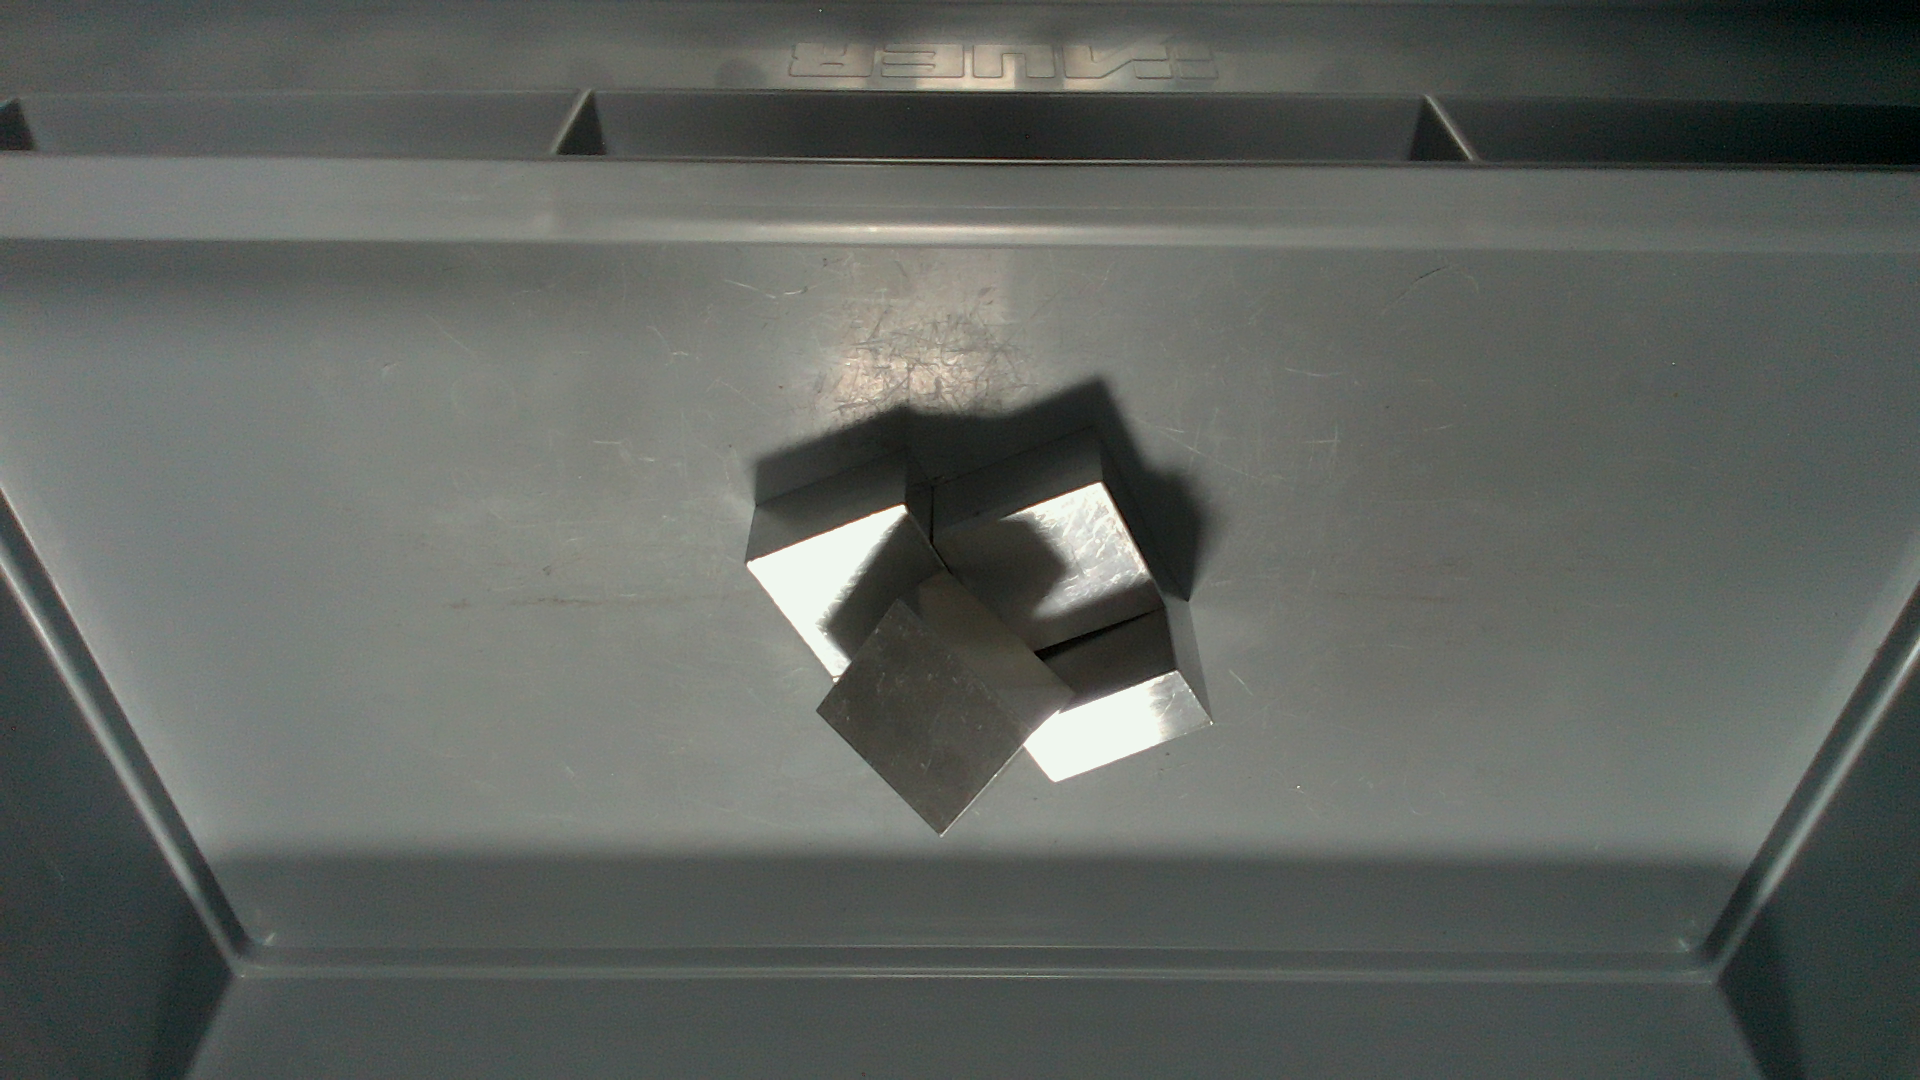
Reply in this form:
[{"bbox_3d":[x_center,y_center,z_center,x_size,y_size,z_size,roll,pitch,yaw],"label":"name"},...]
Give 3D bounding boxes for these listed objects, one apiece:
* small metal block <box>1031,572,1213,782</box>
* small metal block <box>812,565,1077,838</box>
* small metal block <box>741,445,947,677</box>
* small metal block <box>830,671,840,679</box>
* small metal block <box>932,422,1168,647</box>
[{"bbox_3d":[0.043,0.036,0.403,0.050,0.050,0.025,-23,126,17],"label":"small metal block"},{"bbox_3d":[-0.005,0.044,0.378,0.050,0.025,0.050,43,124,10],"label":"small metal block"},{"bbox_3d":[-0.027,0.007,0.395,0.050,0.025,0.050,-20,127,16],"label":"small metal block"},{"bbox_3d":[-0.005,0.042,0.424,0.050,0.025,0.050,-20,127,16],"label":"small metal block"},{"bbox_3d":[0.026,0.001,0.390,0.050,0.025,0.050,-20,127,16],"label":"small metal block"}]
